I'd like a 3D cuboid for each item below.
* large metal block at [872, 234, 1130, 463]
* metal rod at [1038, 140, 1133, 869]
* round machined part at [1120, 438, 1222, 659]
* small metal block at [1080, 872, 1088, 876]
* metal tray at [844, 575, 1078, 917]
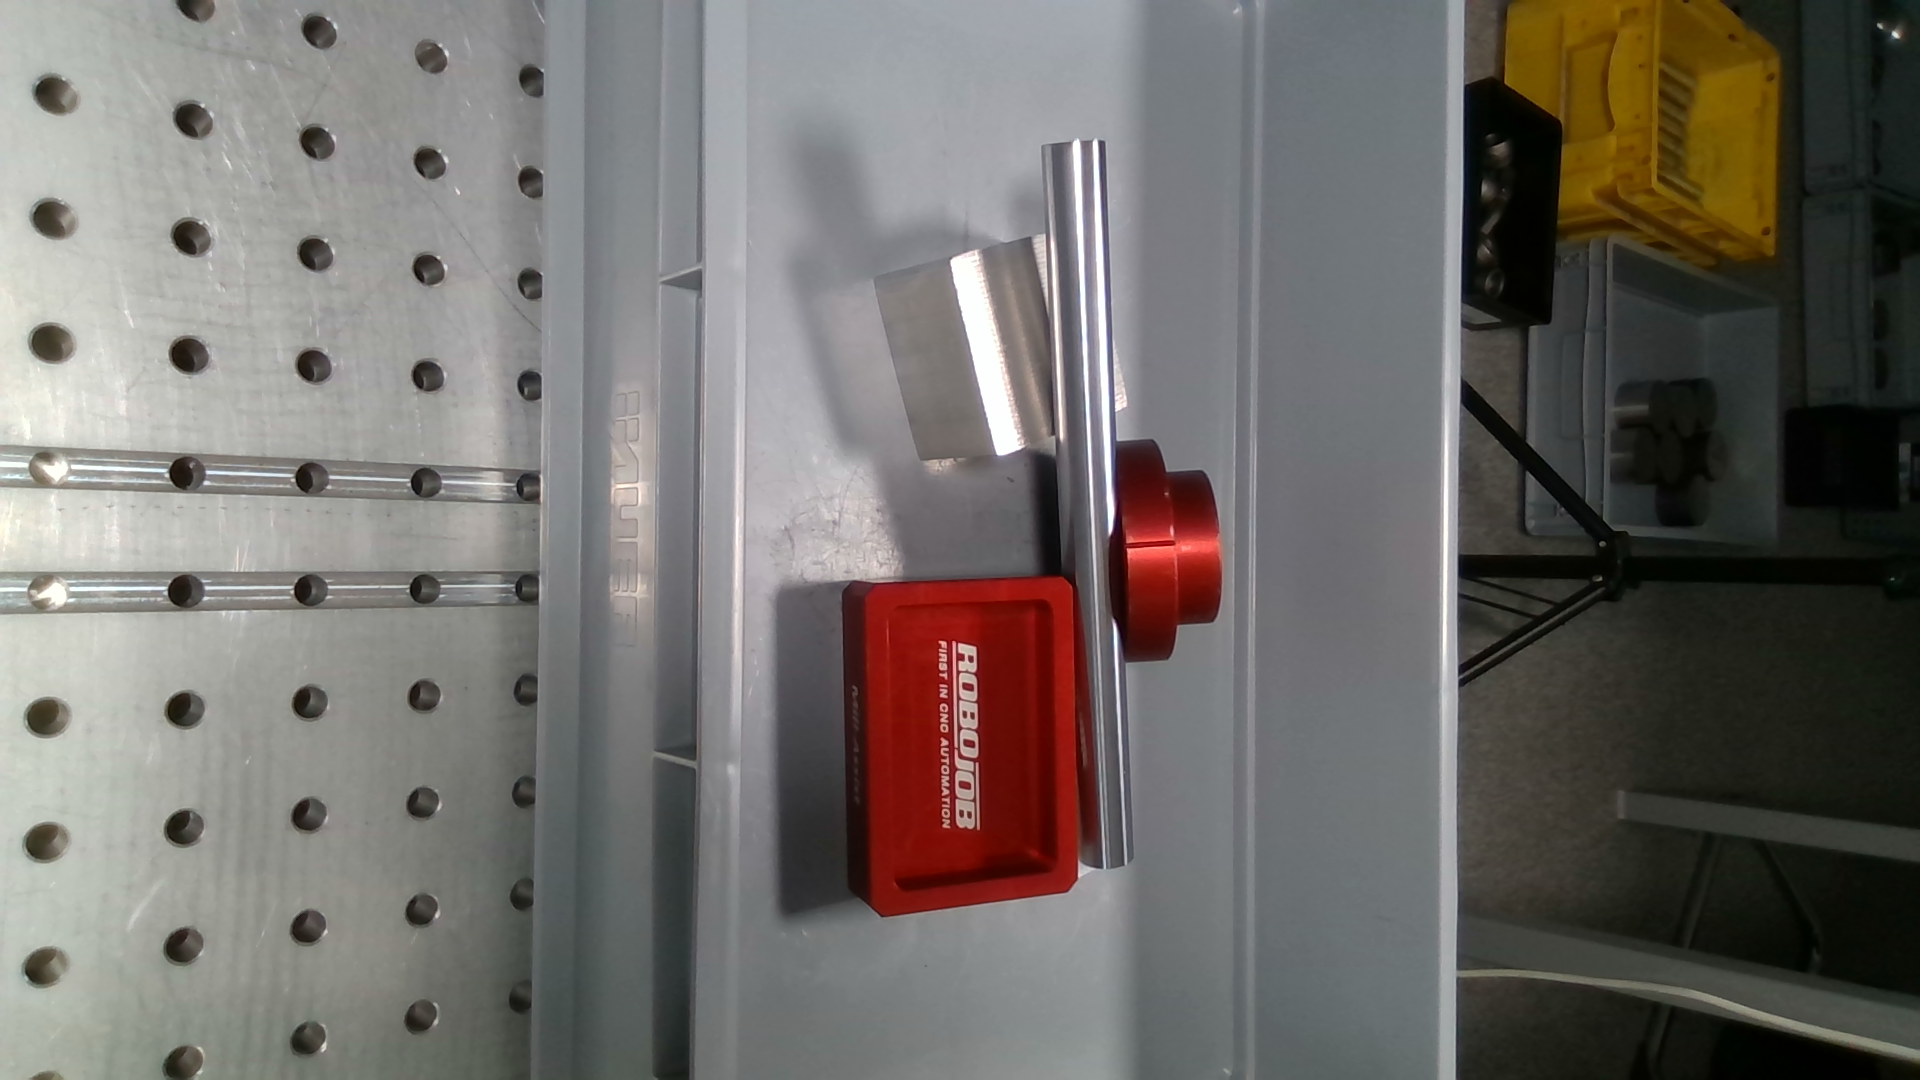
[{"bbox_3d":[0.019,-0.083,0.580,0.080,0.050,0.080,-23,105,-38],"label":"large metal block"},{"bbox_3d":[0.053,-0.008,0.568,0.025,0.025,0.300,-15,107,-39],"label":"metal rod"},{"bbox_3d":[0.088,0.004,0.606,0.042,0.098,0.098,-4,93,0],"label":"round machined part"},{"bbox_3d":[0.043,0.124,0.618,0.050,0.025,0.050,-15,100,-39],"label":"small metal block"},{"bbox_3d":[0.000,0.080,0.561,0.090,0.030,0.130,-2,92,-21],"label":"metal tray"}]
